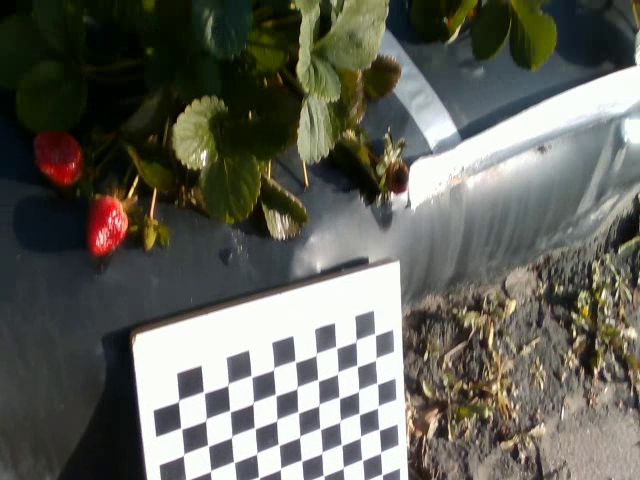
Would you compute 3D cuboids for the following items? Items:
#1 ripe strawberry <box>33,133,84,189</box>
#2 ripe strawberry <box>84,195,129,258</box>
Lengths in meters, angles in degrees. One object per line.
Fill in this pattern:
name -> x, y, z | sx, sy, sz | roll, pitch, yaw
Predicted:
ripe strawberry -> -0.220, -0.065, 0.785 | 0.039, 0.048, 0.054 | 10, 1, 28
ripe strawberry -> -0.174, -0.011, 0.785 | 0.038, 0.053, 0.043 | -29, -52, 26
